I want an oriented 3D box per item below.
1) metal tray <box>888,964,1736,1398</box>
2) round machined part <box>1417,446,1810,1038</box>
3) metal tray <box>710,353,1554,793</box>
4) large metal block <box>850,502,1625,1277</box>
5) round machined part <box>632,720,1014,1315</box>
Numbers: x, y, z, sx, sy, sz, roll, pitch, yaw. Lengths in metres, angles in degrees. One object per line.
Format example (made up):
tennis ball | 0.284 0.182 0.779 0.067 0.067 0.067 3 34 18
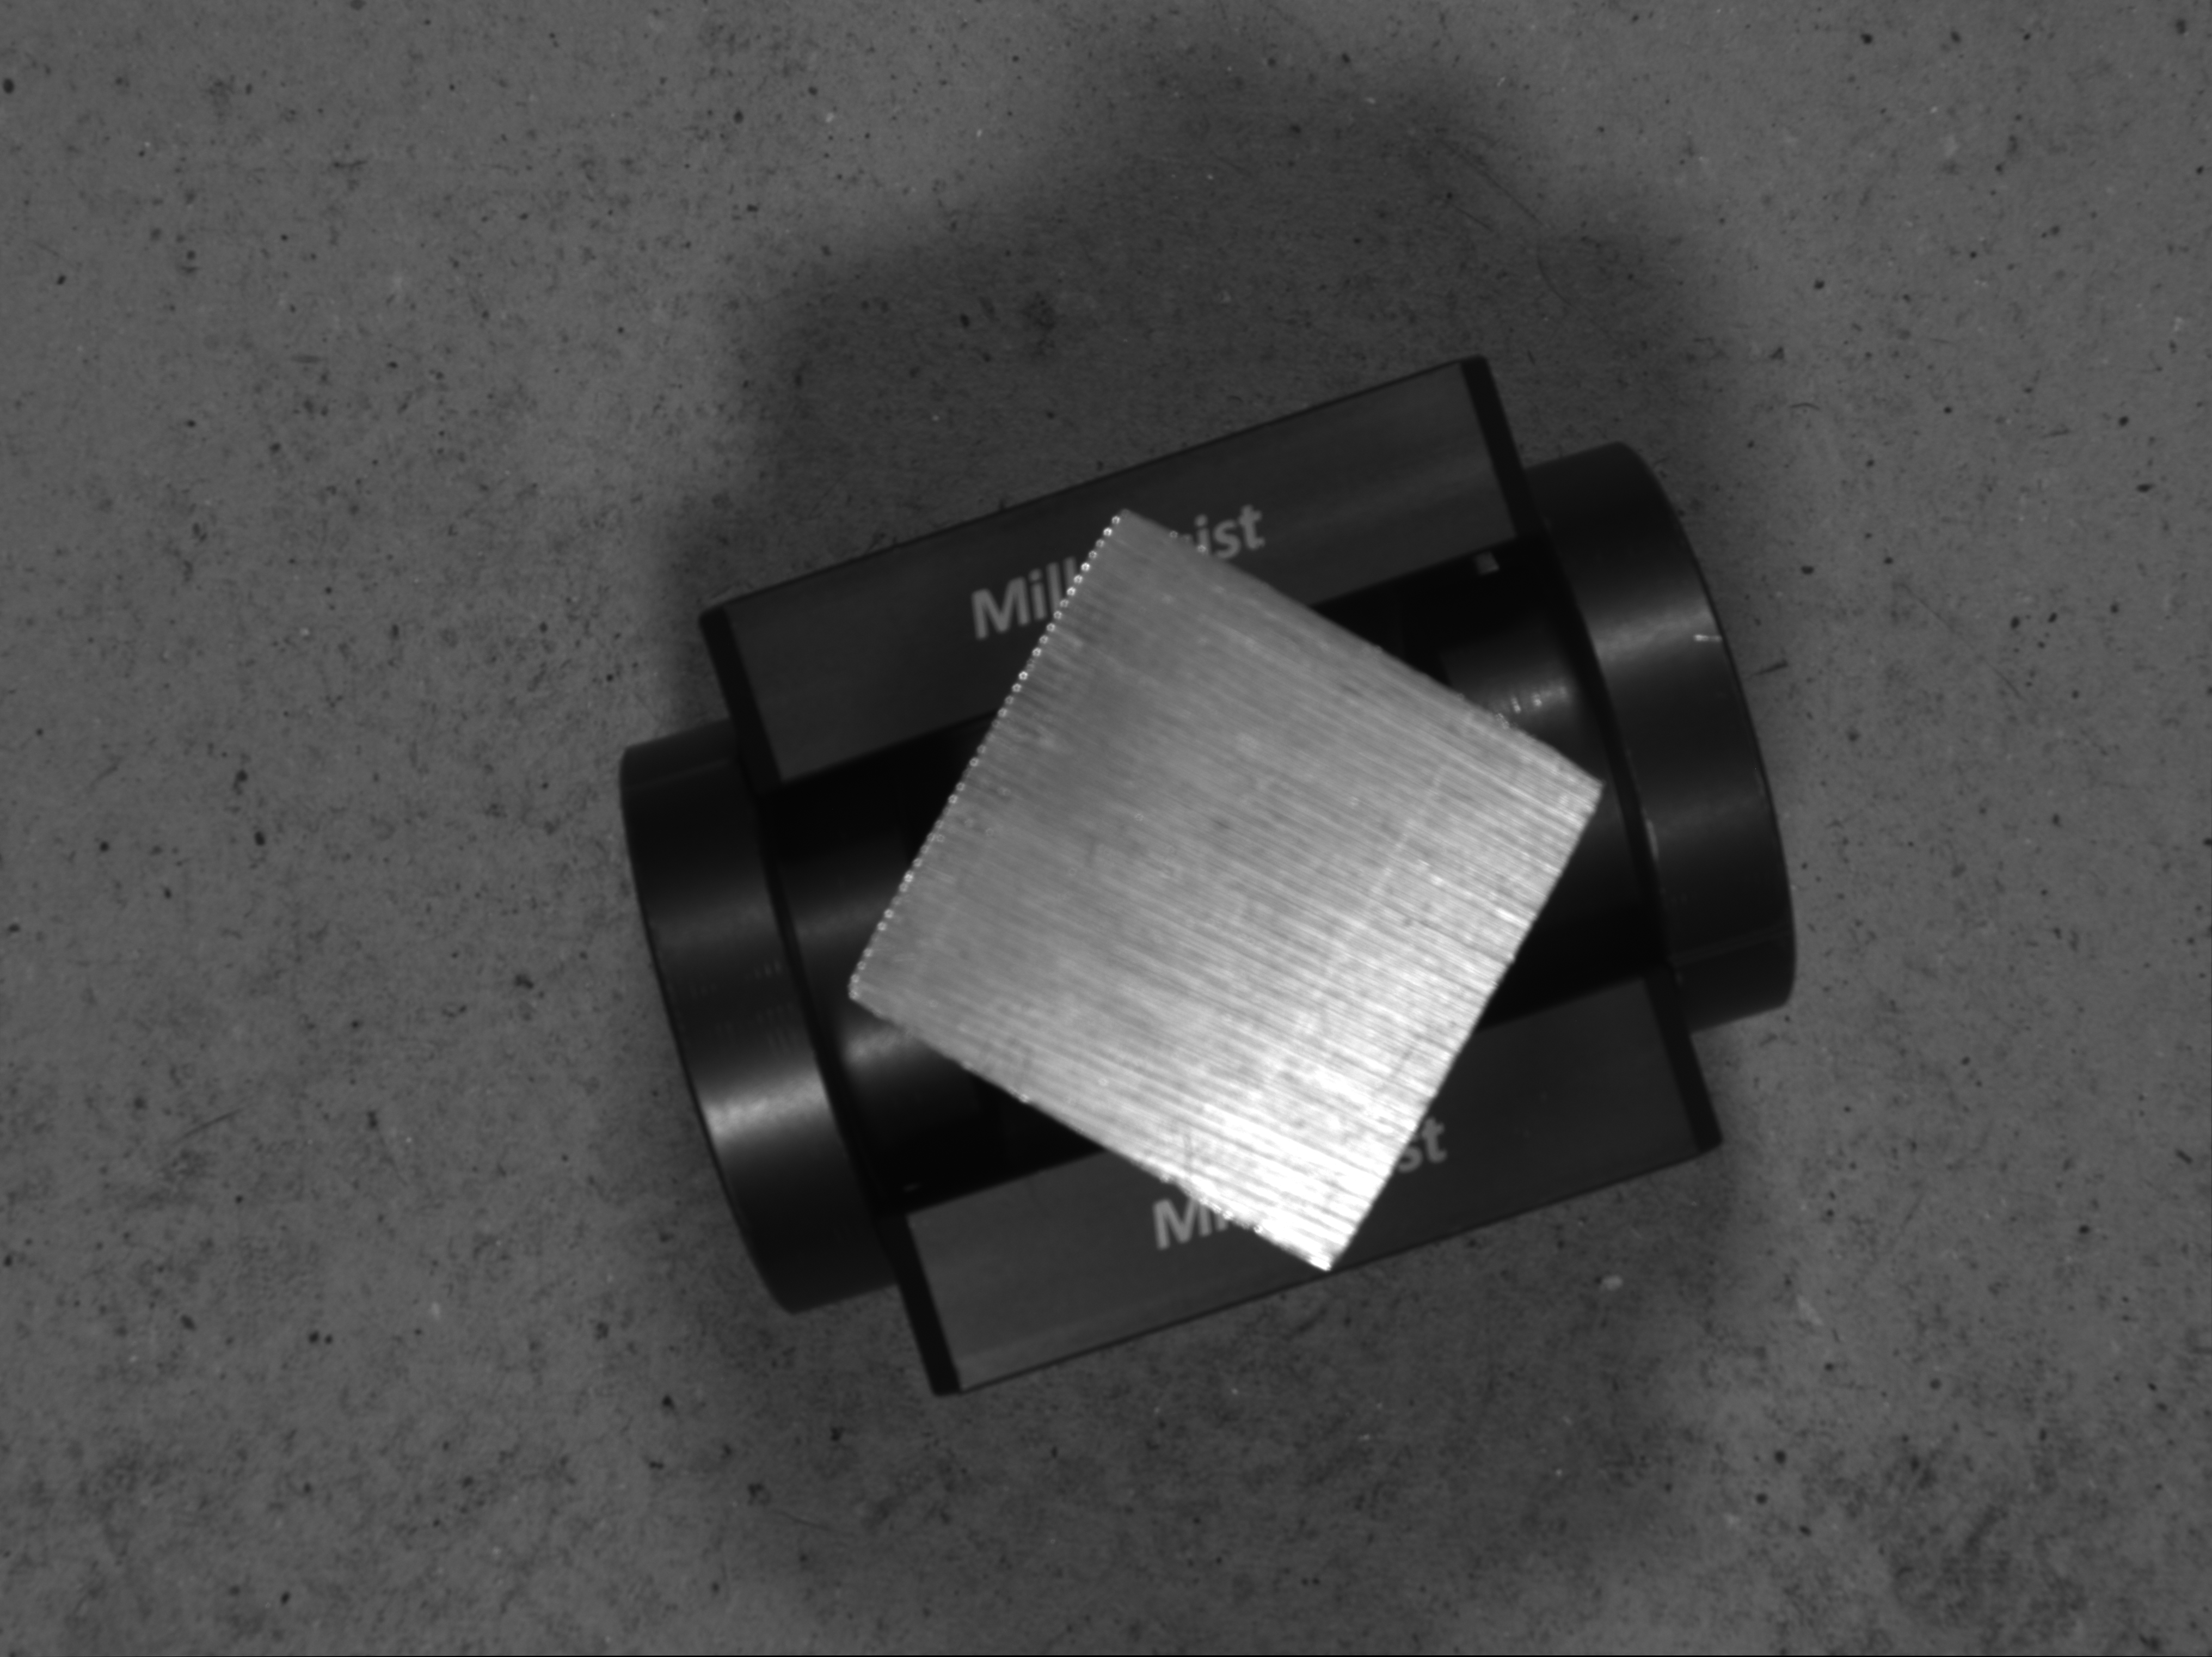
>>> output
metal tray | 0.032 0.055 0.611 0.130 0.090 0.030 -18 90 0
round machined part | 0.081 -0.011 0.609 0.042 0.098 0.098 -15 90 0
metal tray | 0.004 -0.040 0.614 0.130 0.090 0.030 -18 90 0
large metal block | 0.018 0.009 0.541 0.080 0.050 0.080 30 90 0
round machined part | -0.044 0.028 0.608 0.042 0.098 0.098 -15 90 0
